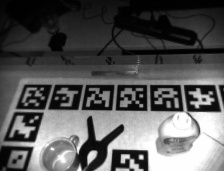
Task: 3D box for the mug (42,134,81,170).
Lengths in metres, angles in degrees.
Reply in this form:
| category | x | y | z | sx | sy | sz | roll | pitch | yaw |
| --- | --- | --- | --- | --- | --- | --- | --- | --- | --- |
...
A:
| category | x | y | z | sx | sy | sz | roll | pitch | yaw |
| --- | --- | --- | --- | --- | --- | --- | --- | --- | --- |
| mug | -0.128 | 0.193 | 0.606 | 0.092 | 0.082 | 0.117 | 19 | 62 | 18 |

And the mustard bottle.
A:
| category | x | y | z | sx | sy | sz | roll | pitch | yaw |
| --- | --- | --- | --- | --- | --- | --- | --- | --- | --- |
| mustard bottle | 0.159 | 0.109 | 0.537 | 0.096 | 0.193 | 0.058 | -6 | 57 | 4 |

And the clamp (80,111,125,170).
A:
| category | x | y | z | sx | sy | sz | roll | pitch | yaw |
| --- | --- | --- | --- | --- | --- | --- | --- | --- | --- |
| clamp | -0.044 | 0.161 | 0.624 | 0.121 | 0.037 | 0.165 | 17 | 62 | 14 |

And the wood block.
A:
| category | x | y | z | sx | sy | sz | roll | pitch | yaw |
| --- | --- | --- | --- | --- | --- | --- | --- | --- | --- |
| wood block | 0.201 | 0.226 | 0.523 | 0.089 | 0.091 | 0.207 | 32 | 63 | 26 |
